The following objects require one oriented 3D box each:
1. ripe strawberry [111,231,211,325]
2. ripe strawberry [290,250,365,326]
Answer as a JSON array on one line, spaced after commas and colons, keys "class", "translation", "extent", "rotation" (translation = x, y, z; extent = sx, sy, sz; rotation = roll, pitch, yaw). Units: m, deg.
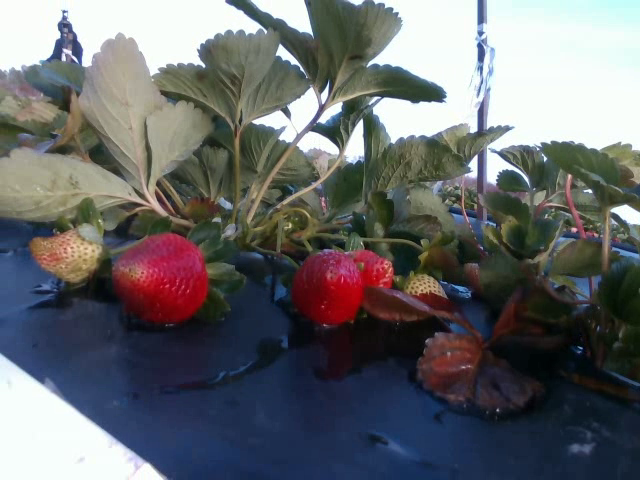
[{"class": "ripe strawberry", "translation": [-0.081, 0.014, 0.289], "extent": [0.050, 0.049, 0.065], "rotation": [-15, -15, 8]}, {"class": "ripe strawberry", "translation": [0.002, 0.024, 0.307], "extent": [0.044, 0.041, 0.055], "rotation": [-30, -10, -10]}]
